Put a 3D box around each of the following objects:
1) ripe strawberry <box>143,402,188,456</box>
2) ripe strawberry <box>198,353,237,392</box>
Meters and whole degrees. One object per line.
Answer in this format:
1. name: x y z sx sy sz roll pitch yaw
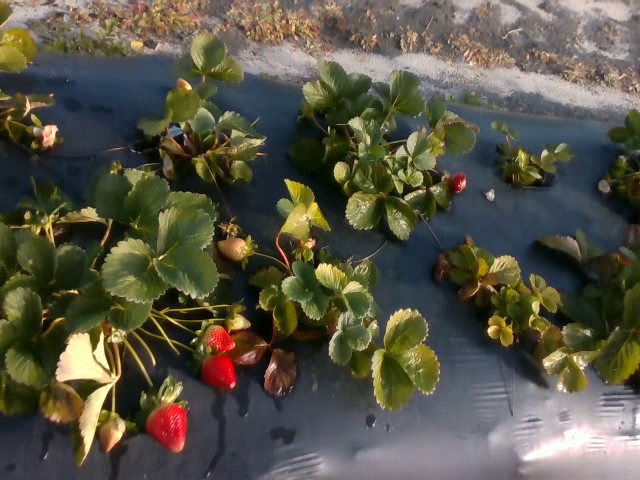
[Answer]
1. ripe strawberry: -0.177 0.222 0.726 0.050 0.065 0.050 -33 -38 -5
2. ripe strawberry: -0.126 0.172 0.773 0.055 0.045 0.041 35 1 33
